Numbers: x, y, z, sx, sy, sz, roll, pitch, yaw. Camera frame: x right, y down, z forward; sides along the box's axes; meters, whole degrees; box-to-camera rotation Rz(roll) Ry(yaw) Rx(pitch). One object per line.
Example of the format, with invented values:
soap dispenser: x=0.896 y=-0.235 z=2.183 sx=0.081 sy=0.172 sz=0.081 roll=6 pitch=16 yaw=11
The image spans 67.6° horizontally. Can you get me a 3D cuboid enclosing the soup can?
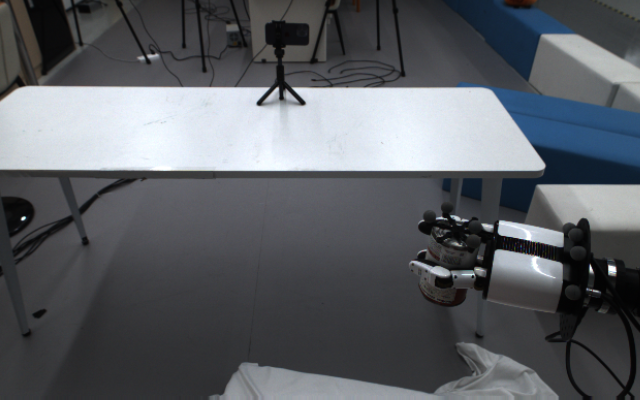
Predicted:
soup can: x=0.181 y=0.087 z=0.672 sx=0.067 sy=0.101 sz=0.067 roll=4 pitch=30 yaw=-2
